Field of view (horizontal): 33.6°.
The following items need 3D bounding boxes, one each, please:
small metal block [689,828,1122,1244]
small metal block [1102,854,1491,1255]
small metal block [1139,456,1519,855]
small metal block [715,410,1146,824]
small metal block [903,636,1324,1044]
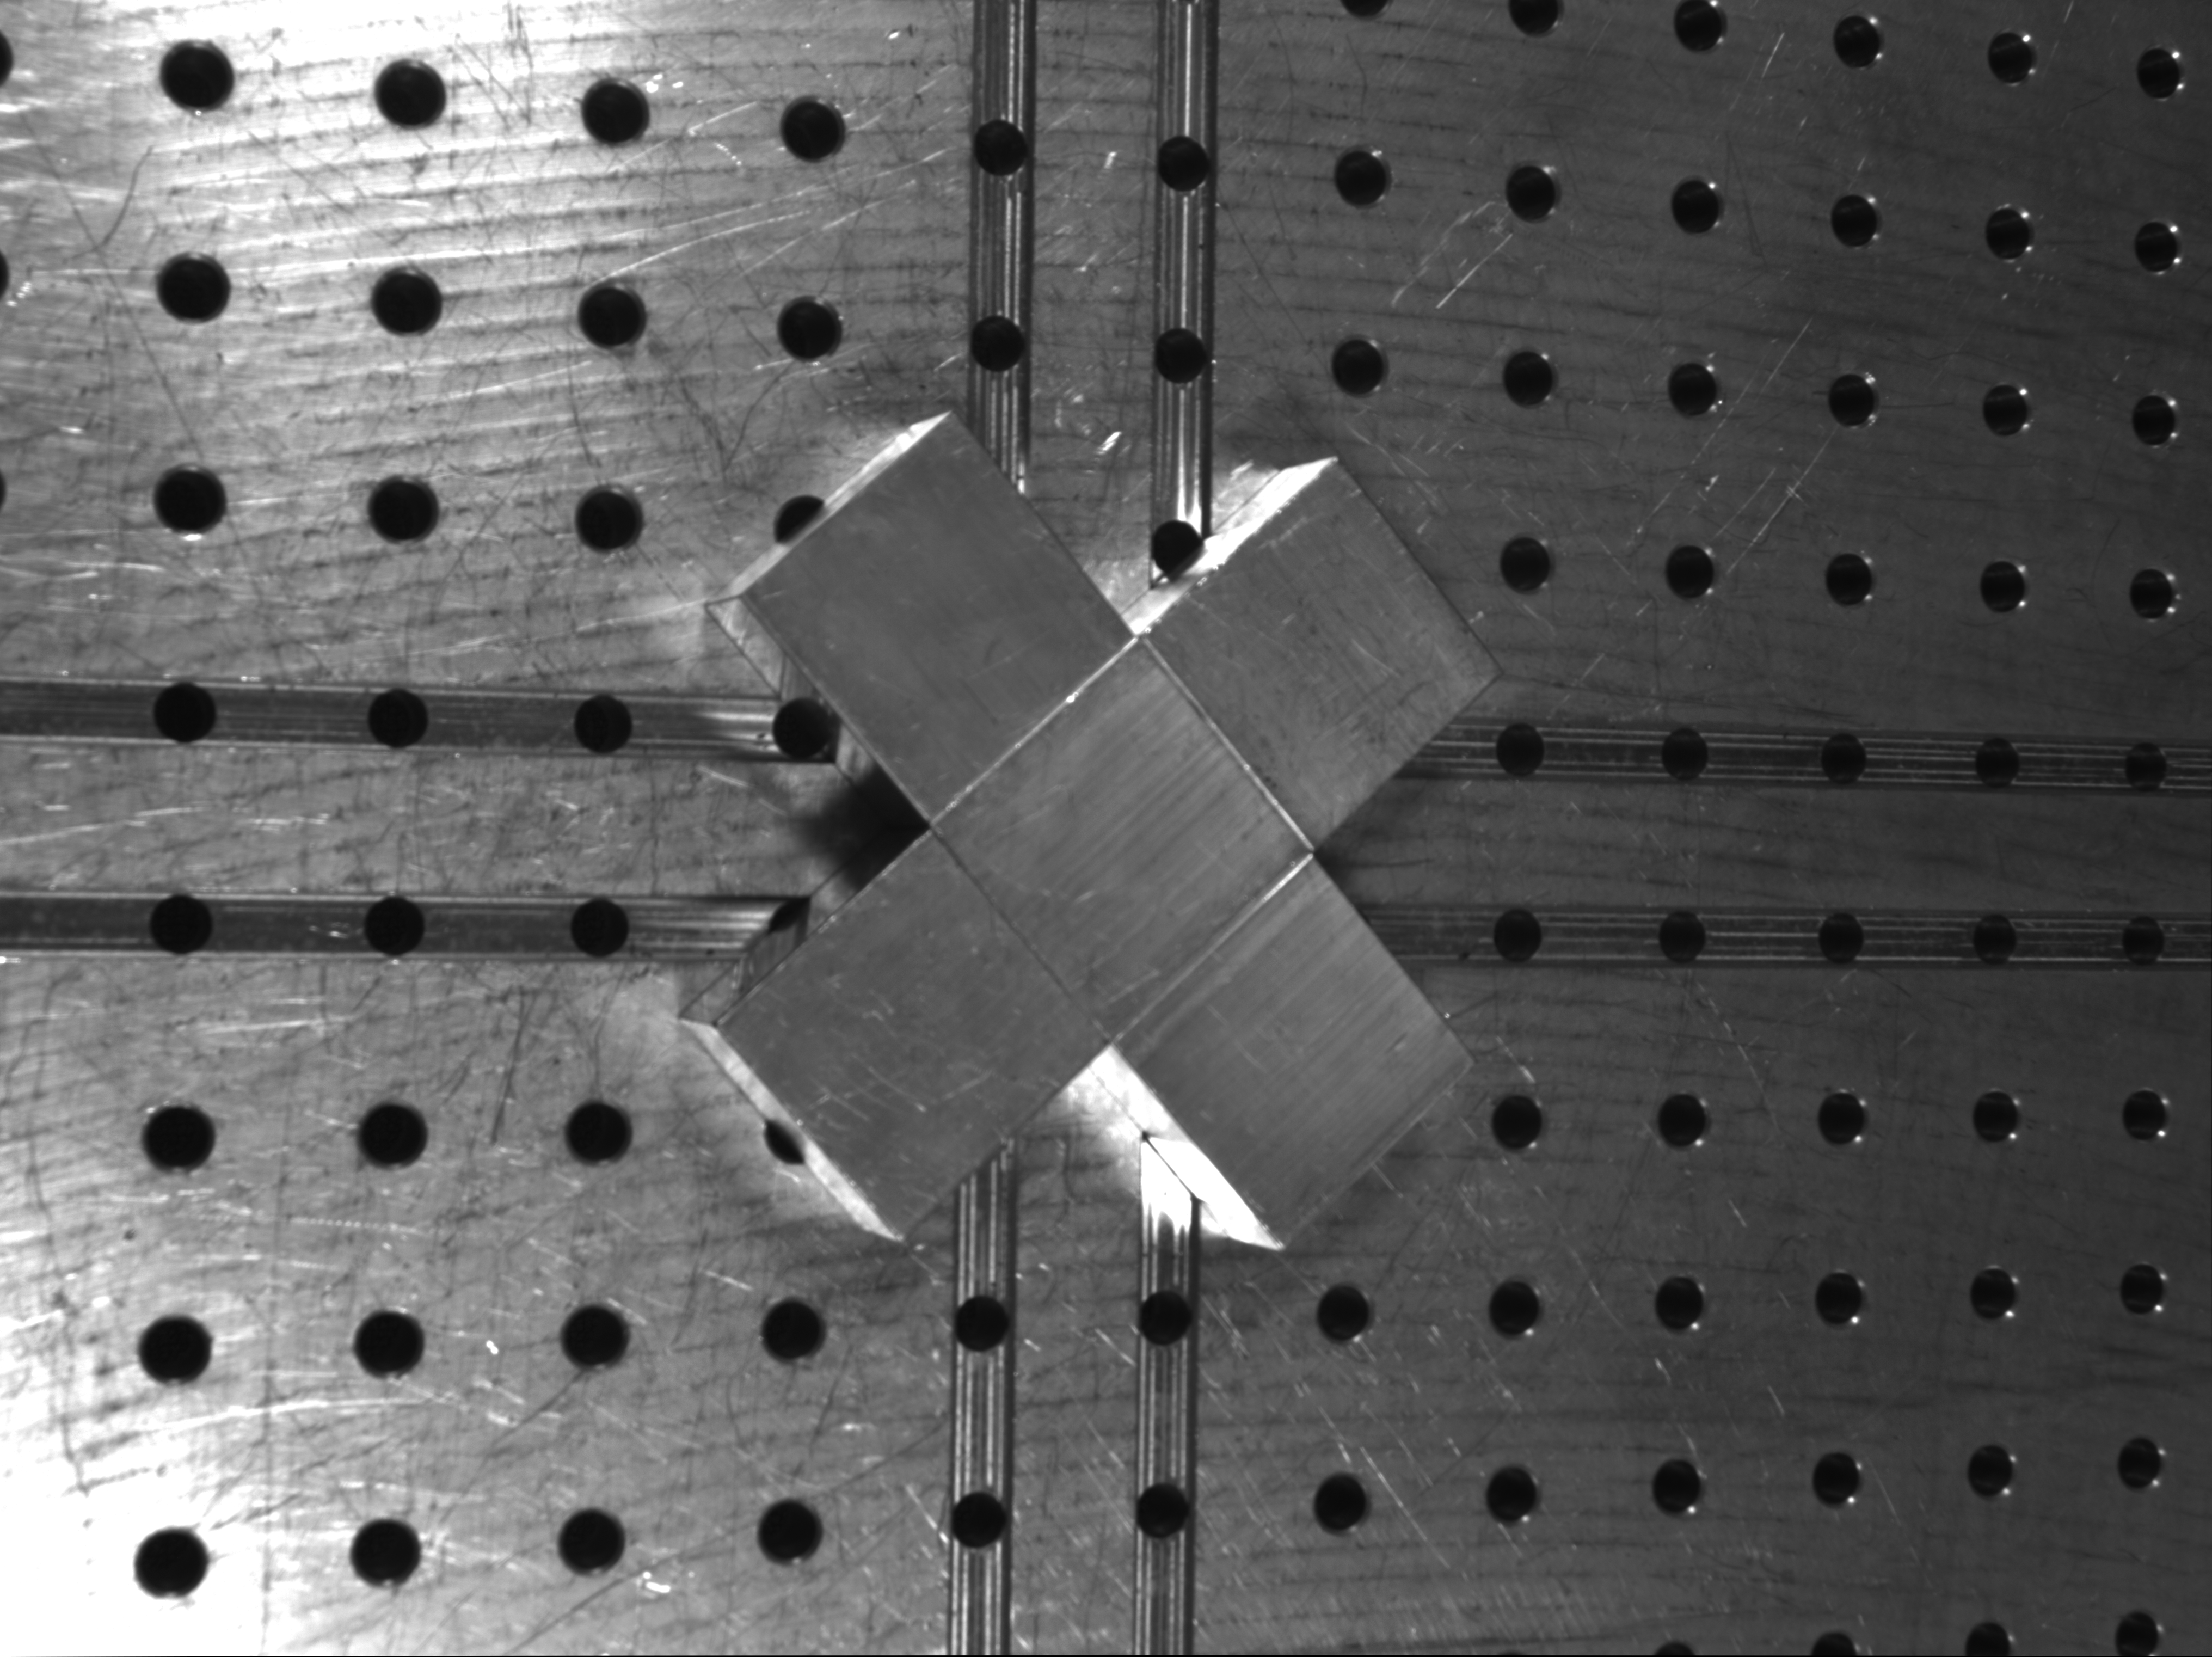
[{"bbox_3d":[-0.035,0.035,0.633,0.050,0.025,0.050,-43,103,-15],"label":"small metal block"},{"bbox_3d":[0.032,0.040,0.657,0.050,0.025,0.050,-43,103,-15],"label":"small metal block"},{"bbox_3d":[0.037,-0.031,0.659,0.050,0.025,0.050,-43,103,-15],"label":"small metal block"},{"bbox_3d":[-0.030,-0.036,0.635,0.050,0.025,0.050,-43,103,-15],"label":"small metal block"},{"bbox_3d":[0.001,0.002,0.645,0.050,0.025,0.050,-43,103,-15],"label":"small metal block"}]
